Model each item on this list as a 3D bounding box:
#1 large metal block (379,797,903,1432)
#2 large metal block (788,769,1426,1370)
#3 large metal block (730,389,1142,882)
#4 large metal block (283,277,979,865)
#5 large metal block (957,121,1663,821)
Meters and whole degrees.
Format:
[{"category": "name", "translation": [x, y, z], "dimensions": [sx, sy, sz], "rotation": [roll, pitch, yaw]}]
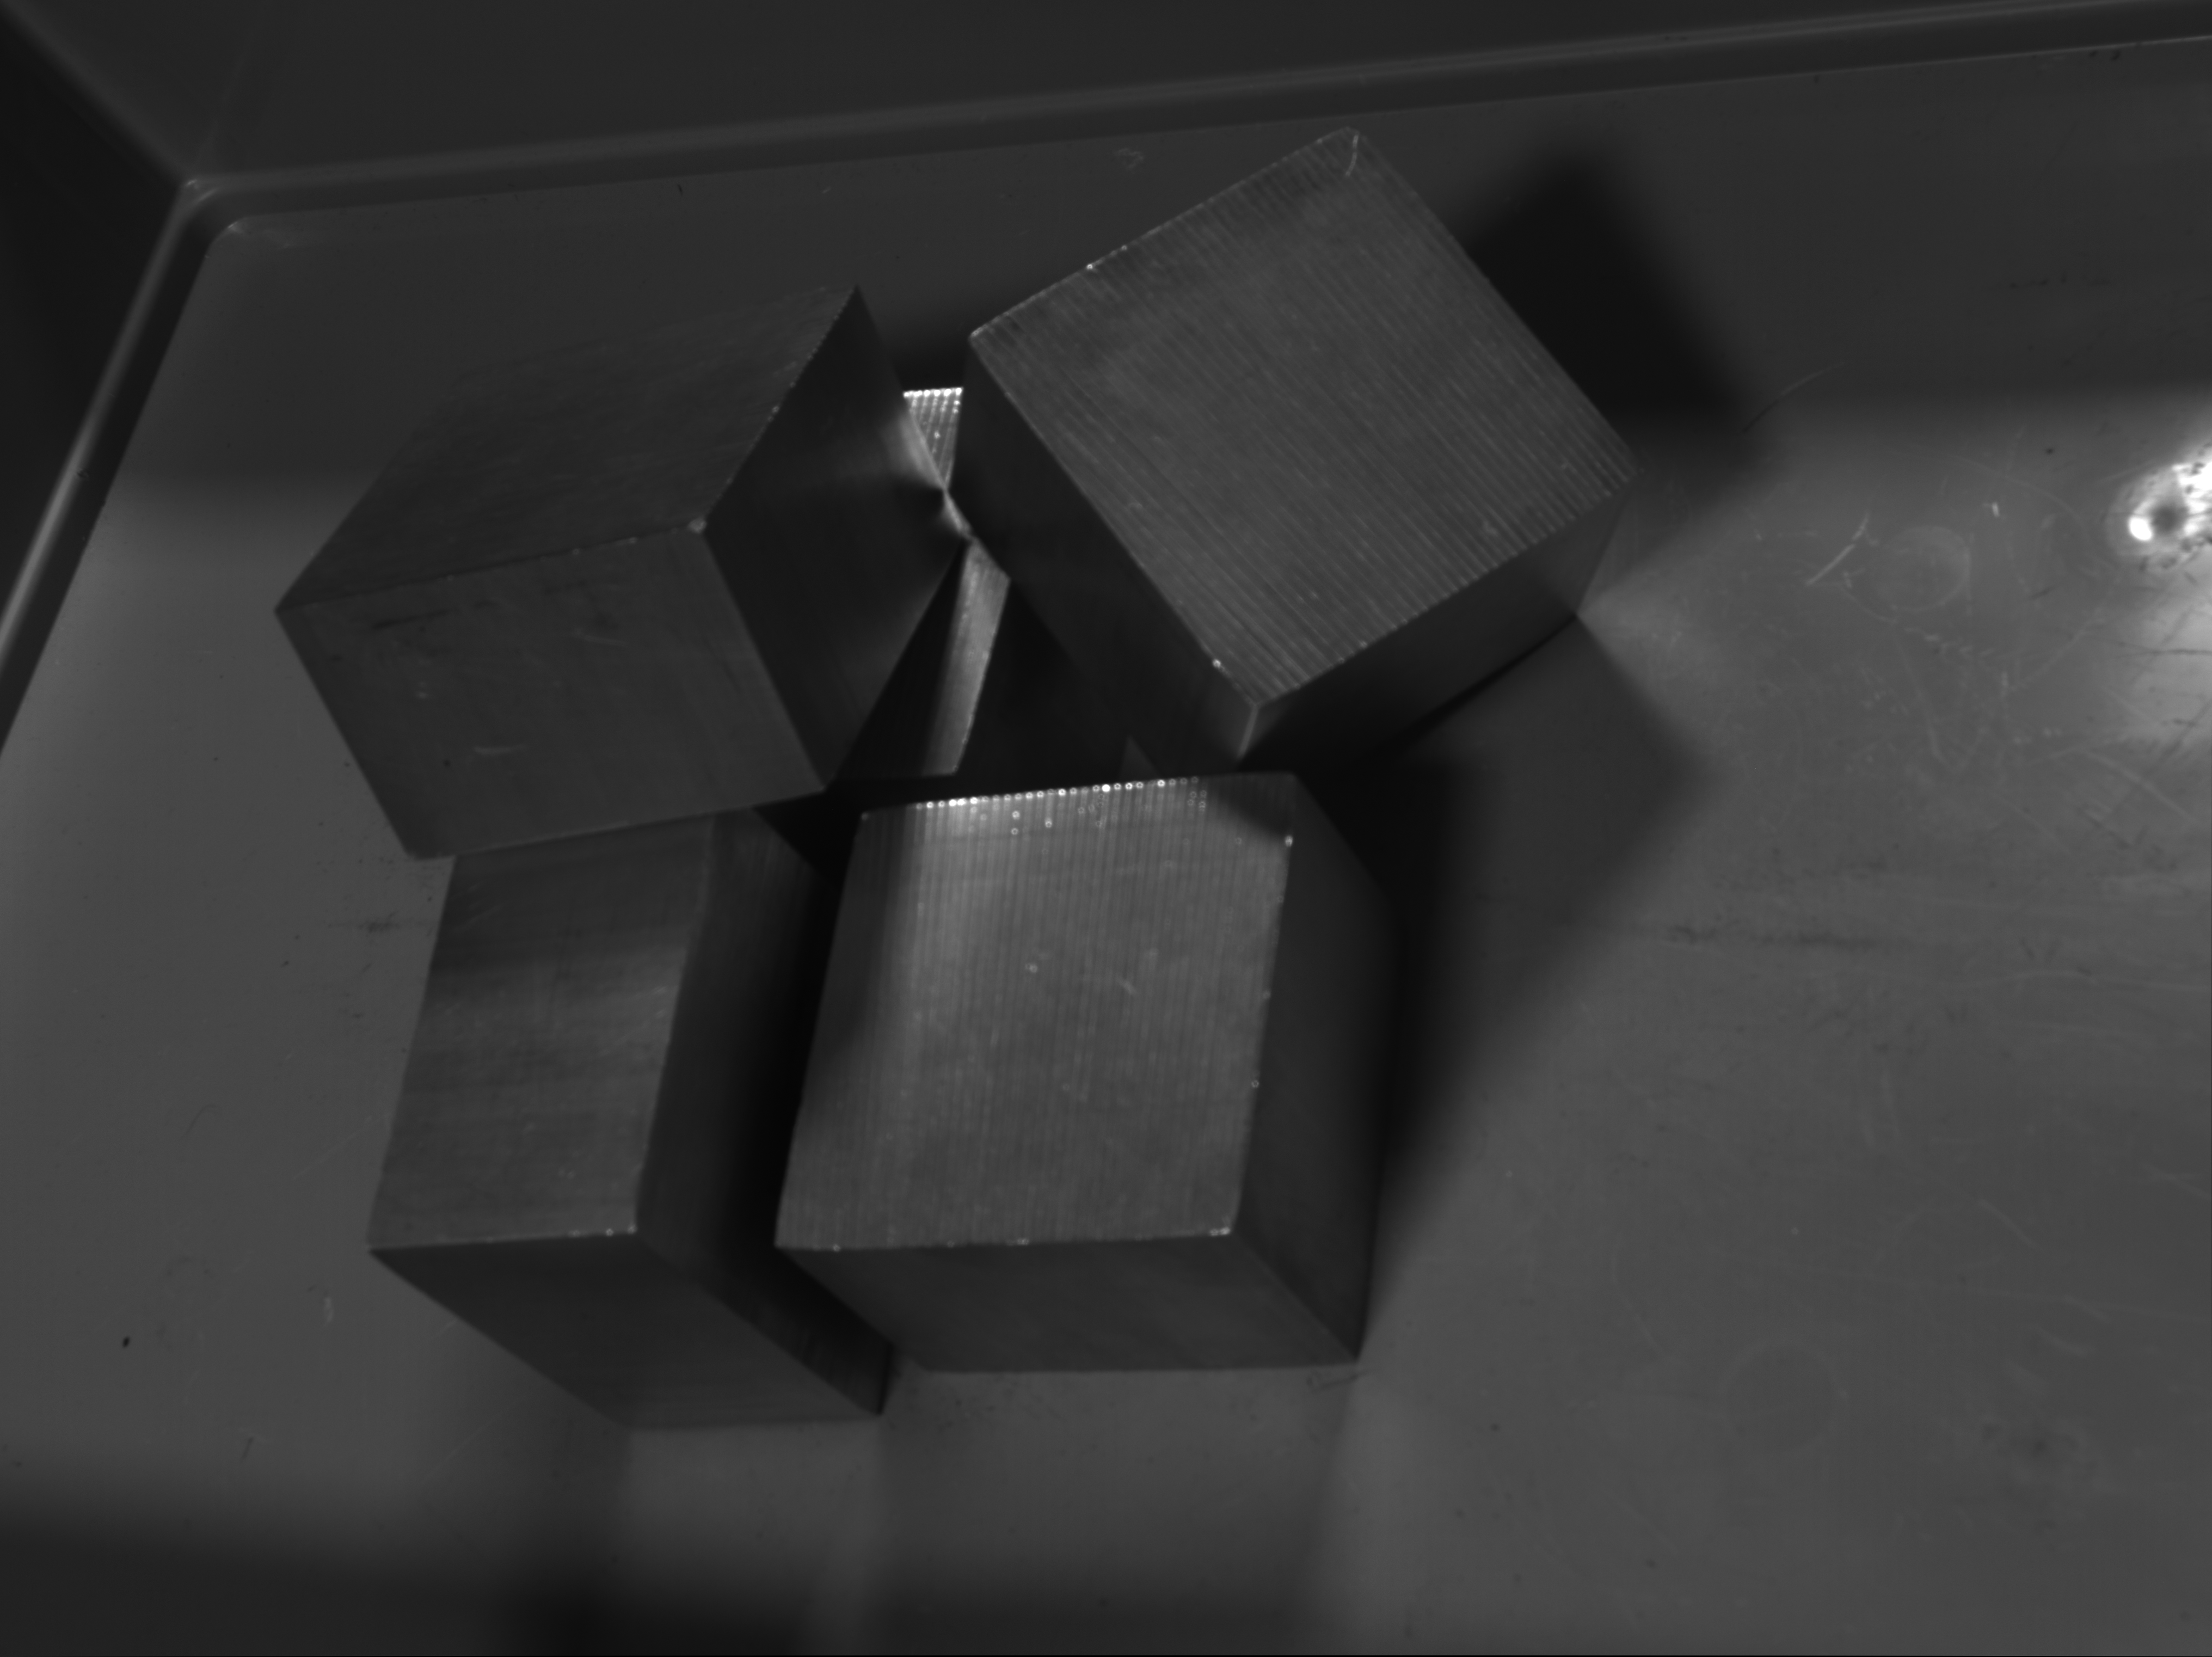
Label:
[{"category": "large metal block", "translation": [-0.070, 0.048, 0.615], "dimensions": [0.050, 0.080, 0.080], "rotation": [-6, 59, 25]}, {"category": "large metal block", "translation": [0.002, 0.041, 0.598], "dimensions": [0.080, 0.050, 0.080], "rotation": [-5, 59, 26]}, {"category": "large metal block", "translation": [-0.038, -0.032, 0.667], "dimensions": [0.080, 0.050, 0.080], "rotation": [-1, 61, 28]}, {"category": "large metal block", "translation": [-0.076, -0.043, 0.610], "dimensions": [0.080, 0.050, 0.080], "rotation": [-9, 32, 24]}, {"category": "large metal block", "translation": [0.032, -0.058, 0.612], "dimensions": [0.080, 0.050, 0.080], "rotation": [-31, 73, -19]}]
